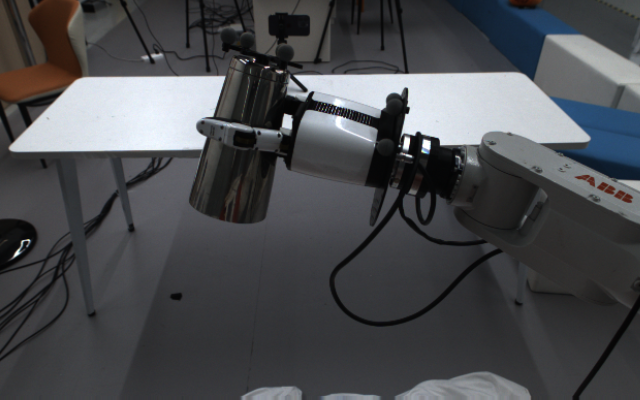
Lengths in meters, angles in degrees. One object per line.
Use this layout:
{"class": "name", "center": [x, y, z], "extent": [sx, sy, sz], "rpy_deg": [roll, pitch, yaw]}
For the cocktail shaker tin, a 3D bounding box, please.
{"class": "cocktail shaker tin", "center": [-0.086, -0.069, 0.548], "extent": [0.093, 0.170, 0.093], "rpy_deg": [15, 17, -5]}
